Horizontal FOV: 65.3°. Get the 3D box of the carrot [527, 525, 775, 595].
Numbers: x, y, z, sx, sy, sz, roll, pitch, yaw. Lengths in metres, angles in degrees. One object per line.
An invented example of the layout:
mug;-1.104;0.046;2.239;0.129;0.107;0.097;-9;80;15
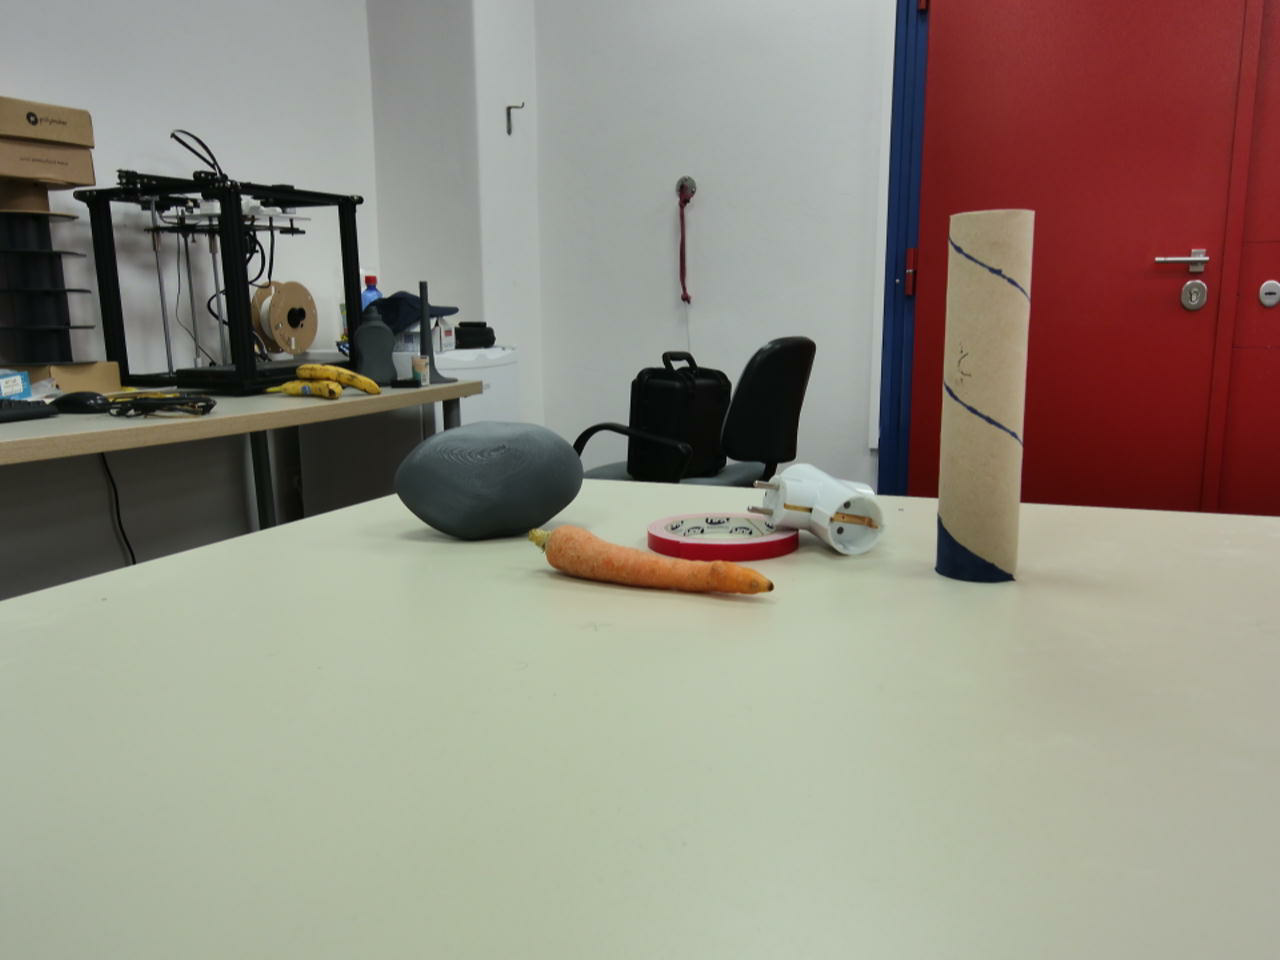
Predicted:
carrot;0.001;0.049;0.614;0.173;0.032;0.030;5;8;32
